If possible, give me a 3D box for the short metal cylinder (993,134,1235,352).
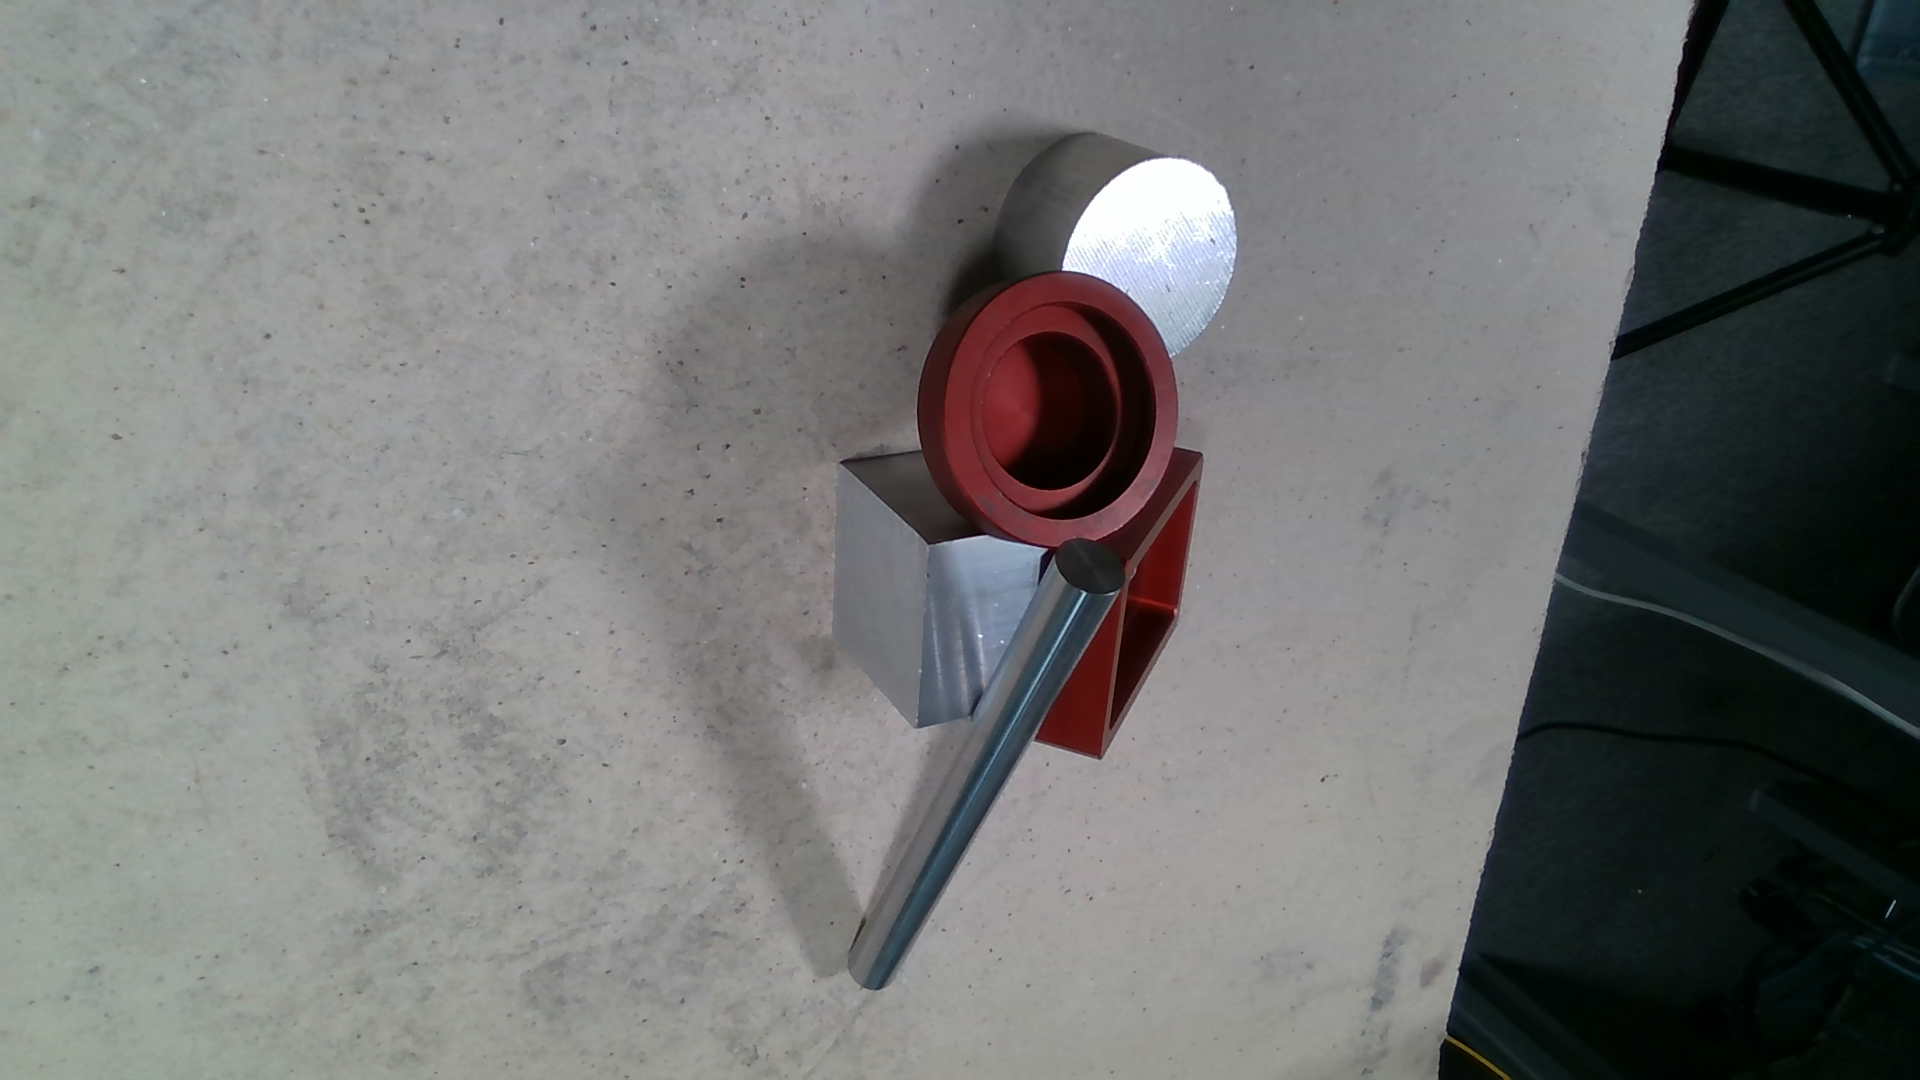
[{"bbox_3d":[0.060,-0.114,0.540,0.080,0.050,0.080,-14,122,-25],"label":"short metal cylinder"}]

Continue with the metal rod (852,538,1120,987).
[{"bbox_3d":[0.000,0.107,0.563,0.025,0.025,0.301,-9,143,-28],"label":"metal rod"}]

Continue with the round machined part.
[{"bbox_3d":[0.028,-0.048,0.504,0.098,0.042,0.098,-3,96,-27],"label":"round machined part"}]

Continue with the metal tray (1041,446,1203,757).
[{"bbox_3d":[0.068,0.021,0.582,0.130,0.030,0.090,-46,145,-58],"label":"metal tray"}]

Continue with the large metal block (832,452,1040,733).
[{"bbox_3d":[-0.011,0.017,0.548,0.050,0.080,0.080,-10,120,-27],"label":"large metal block"}]
